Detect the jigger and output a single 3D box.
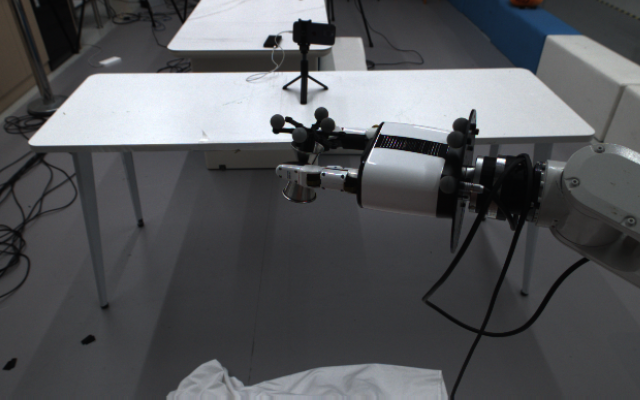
[{"bbox_3d":[-0.021,-0.036,0.594,0.043,0.071,0.043,9,30,-5],"label":"jigger"}]
